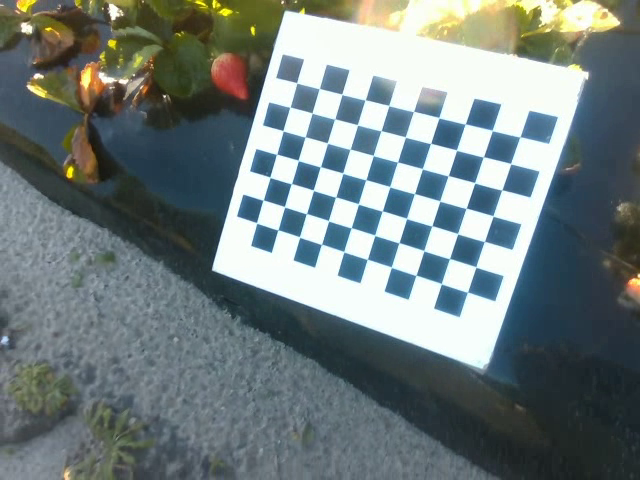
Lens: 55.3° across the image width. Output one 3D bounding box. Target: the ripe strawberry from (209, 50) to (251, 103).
[{"bbox_3d":[-0.103,-0.182,0.684,0.040,0.065,0.040,-33,-10,12],"label":"ripe strawberry"}]
